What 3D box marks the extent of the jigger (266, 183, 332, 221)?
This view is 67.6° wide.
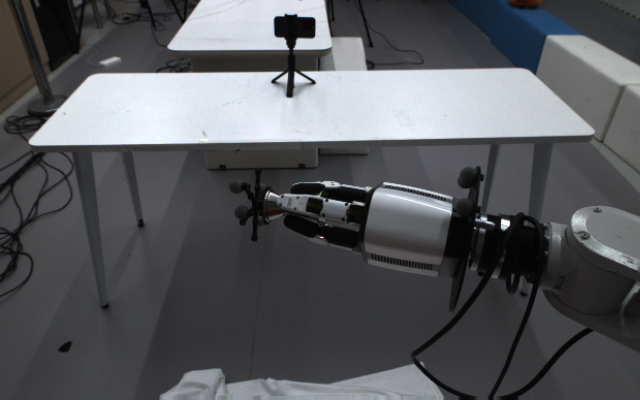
[{"bbox_3d":[-0.020,0.003,0.576,0.071,0.043,0.043,2,34,16],"label":"jigger"}]
